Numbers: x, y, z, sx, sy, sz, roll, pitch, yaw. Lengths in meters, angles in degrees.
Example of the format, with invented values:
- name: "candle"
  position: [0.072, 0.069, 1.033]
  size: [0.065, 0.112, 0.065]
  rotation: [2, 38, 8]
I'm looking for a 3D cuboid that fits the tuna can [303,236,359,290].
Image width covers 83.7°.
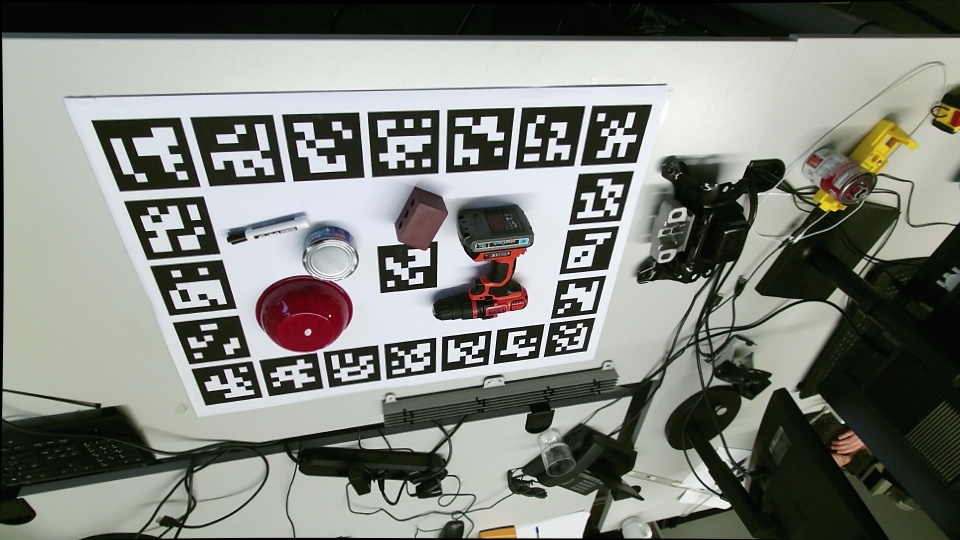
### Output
- name: "tuna can"
  position: [-0.237, -0.011, 0.858]
  size: [0.086, 0.033, 0.086]
  rotation: [-7, 127, -9]

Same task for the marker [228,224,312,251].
- name: "marker"
  position: [-0.319, -0.049, 0.813]
  size: [0.121, 0.019, 0.019]
  rotation: [-13, 127, -7]

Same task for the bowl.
- name: "bowl"
  position: [-0.294, 0.098, 0.922]
  size: [0.162, 0.055, 0.162]
  rotation: [-11, 135, -12]

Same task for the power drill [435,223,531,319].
- name: "power drill"
  position: [0.014, 0.011, 0.943]
  size: [0.185, 0.057, 0.187]
  rotation: [-4, 129, -10]

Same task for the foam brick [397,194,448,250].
- name: "foam brick"
  position: [-0.092, -0.072, 0.854]
  size: [0.051, 0.052, 0.078]
  rotation: [17, 118, -26]
